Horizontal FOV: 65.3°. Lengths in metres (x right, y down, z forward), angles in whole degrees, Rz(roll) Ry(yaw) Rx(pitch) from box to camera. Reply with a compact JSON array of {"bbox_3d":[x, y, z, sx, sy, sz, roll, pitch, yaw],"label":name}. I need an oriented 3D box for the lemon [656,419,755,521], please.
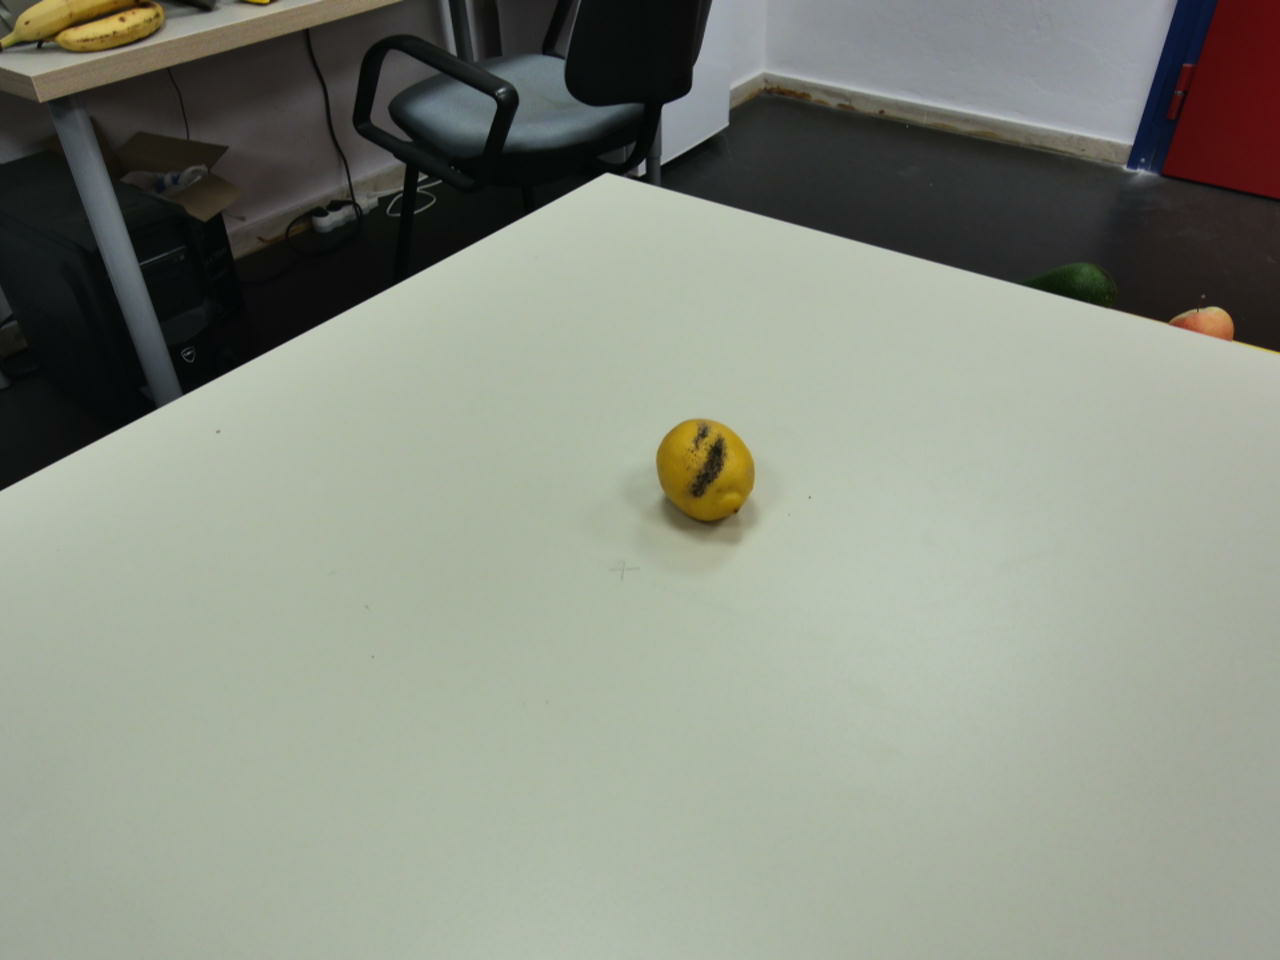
[{"bbox_3d":[0.039,-0.006,0.596,0.061,0.056,0.058,19,41,23],"label":"lemon"}]
